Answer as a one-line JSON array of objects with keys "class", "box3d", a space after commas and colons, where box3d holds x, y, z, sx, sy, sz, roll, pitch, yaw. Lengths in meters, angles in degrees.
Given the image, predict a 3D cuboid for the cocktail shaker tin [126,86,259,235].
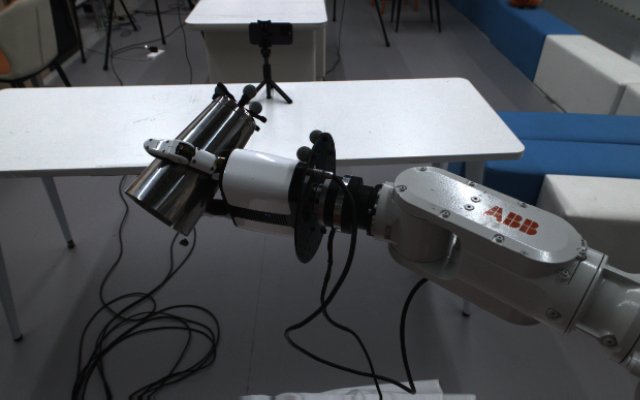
[{"class": "cocktail shaker tin", "box3d": [-0.157, -0.052, 0.620, 0.093, 0.093, 0.170, 24, 69, 28]}]
